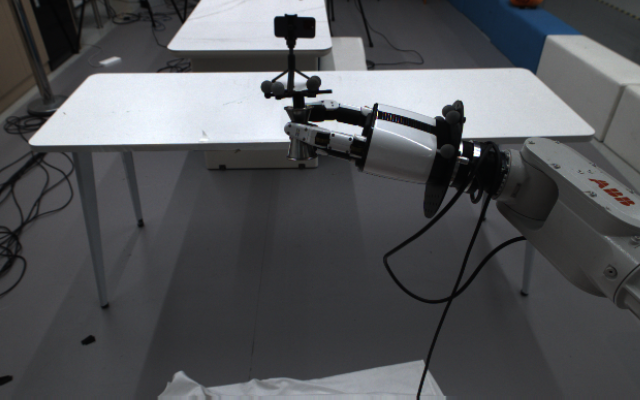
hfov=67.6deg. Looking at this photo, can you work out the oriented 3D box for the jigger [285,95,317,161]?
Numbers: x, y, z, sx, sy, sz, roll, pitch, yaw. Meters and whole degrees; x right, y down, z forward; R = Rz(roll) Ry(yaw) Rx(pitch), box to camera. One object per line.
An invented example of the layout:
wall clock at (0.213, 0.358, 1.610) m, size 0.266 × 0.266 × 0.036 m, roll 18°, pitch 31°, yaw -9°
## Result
jigger at (-0.026, -0.091, 0.647) m, size 0.043 × 0.071 × 0.043 m, roll -2°, pitch 19°, yaw 1°
